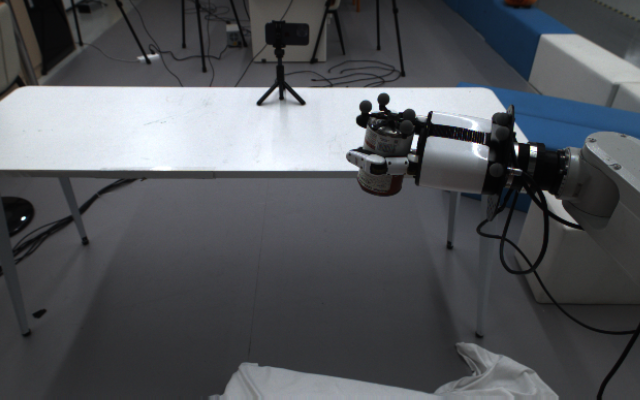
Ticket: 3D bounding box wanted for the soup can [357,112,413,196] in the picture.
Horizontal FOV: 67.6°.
[{"bbox_3d":[0.094,-0.065,0.692,0.067,0.101,0.067,5,36,-3],"label":"soup can"}]
